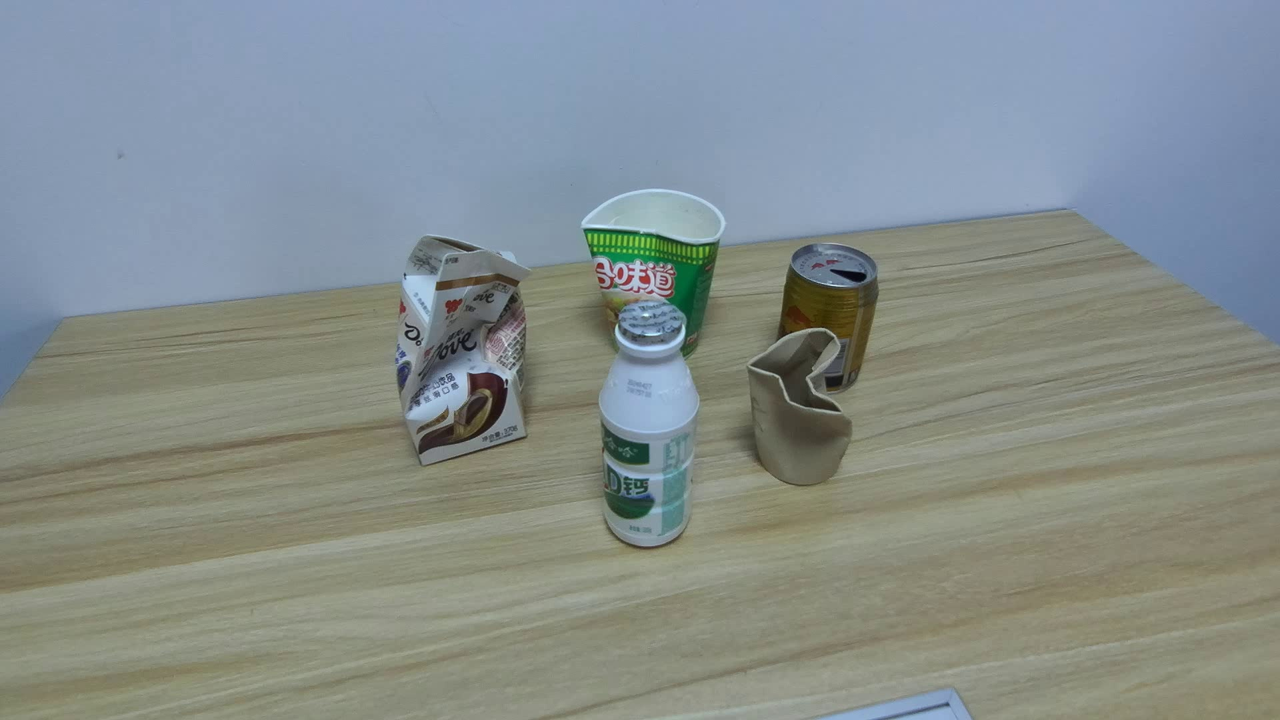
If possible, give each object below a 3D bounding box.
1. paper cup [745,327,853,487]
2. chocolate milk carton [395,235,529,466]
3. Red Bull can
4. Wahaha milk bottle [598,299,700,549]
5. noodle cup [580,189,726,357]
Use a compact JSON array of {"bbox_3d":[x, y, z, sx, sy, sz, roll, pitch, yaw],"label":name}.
[{"bbox_3d":[0.105,0.034,0.436,0.067,0.083,0.058,-31,49,-30],"label":"paper cup"},{"bbox_3d":[-0.111,-0.013,0.452,0.089,0.155,0.076,-4,41,-27],"label":"chocolate milk carton"},{"bbox_3d":[0.132,-0.030,0.510,0.068,0.093,0.068,0,38,0],"label":"Red Bull can"},{"bbox_3d":[0.005,0.038,0.380,0.053,0.147,0.053,-1,38,1],"label":"Wahaha milk bottle"},{"bbox_3d":[0.016,-0.058,0.531,0.093,0.109,0.087,26,45,30],"label":"noodle cup"}]
